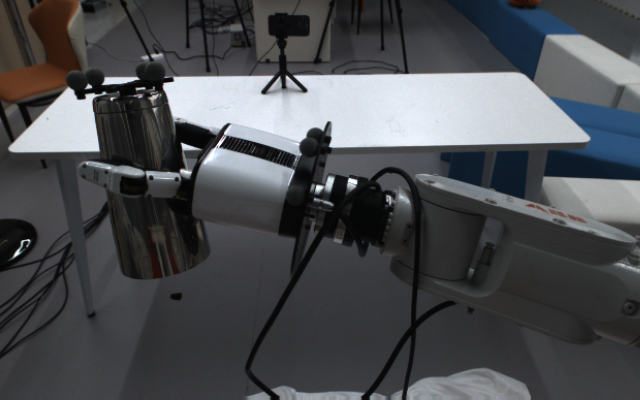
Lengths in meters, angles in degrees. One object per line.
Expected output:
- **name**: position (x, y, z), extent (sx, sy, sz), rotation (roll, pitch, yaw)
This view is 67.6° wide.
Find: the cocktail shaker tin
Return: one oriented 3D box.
- **cocktail shaker tin**: position (-0.168, -0.017, 0.479), extent (0.093, 0.170, 0.093), rotation (-6, 19, 2)
